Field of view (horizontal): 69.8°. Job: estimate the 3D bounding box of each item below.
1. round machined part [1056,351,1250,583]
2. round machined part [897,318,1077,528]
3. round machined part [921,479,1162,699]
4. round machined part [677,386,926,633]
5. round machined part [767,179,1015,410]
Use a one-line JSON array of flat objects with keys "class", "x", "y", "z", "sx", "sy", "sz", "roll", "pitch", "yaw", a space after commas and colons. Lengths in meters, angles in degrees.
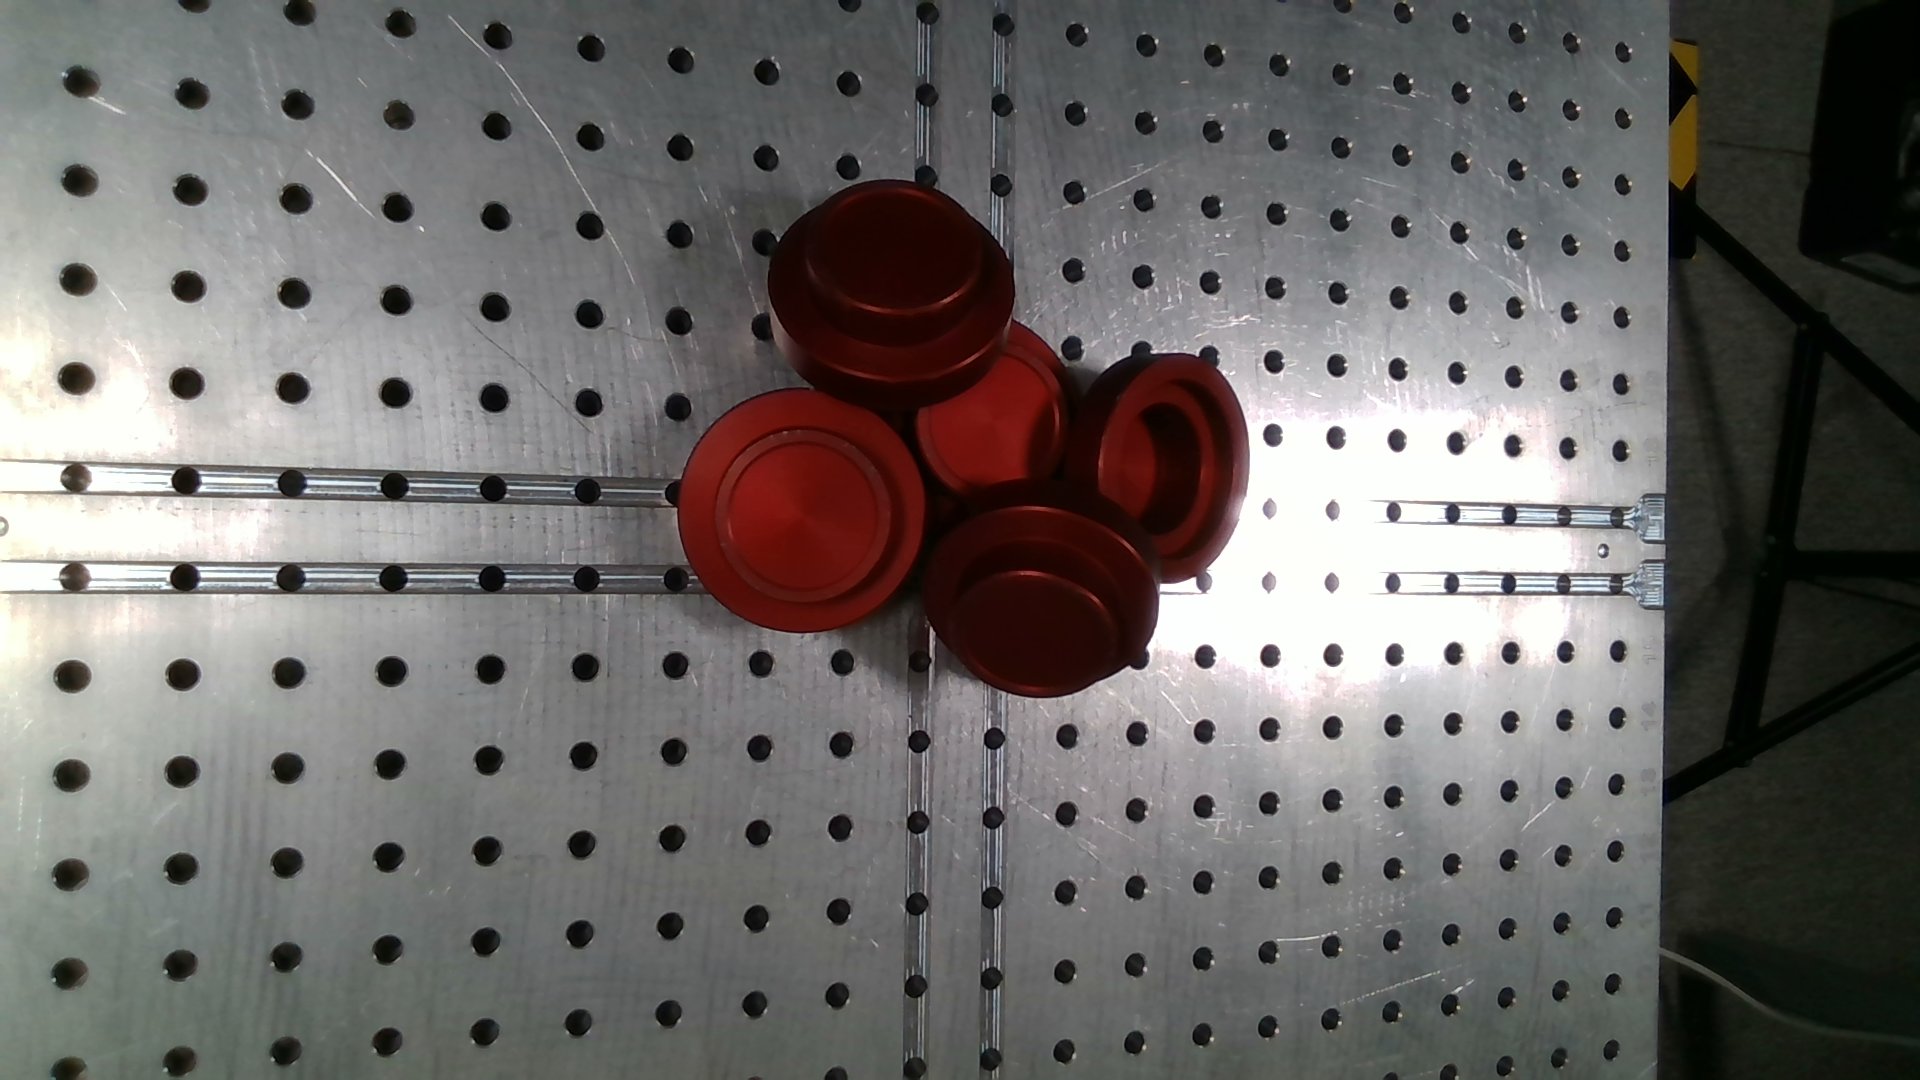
[{"class": "round machined part", "x": 0.079, "y": -0.032, "z": 0.597, "sx": 0.098, "sy": 0.042, "sz": 0.098, "roll": -6, "pitch": 99, "yaw": -41}, {"class": "round machined part", "x": 0.007, "y": -0.050, "z": 0.581, "sx": 0.098, "sy": 0.042, "sz": 0.098, "roll": 0, "pitch": 90, "yaw": -20}, {"class": "round machined part", "x": 0.032, "y": 0.027, "z": 0.560, "sx": 0.098, "sy": 0.098, "sz": 0.042, "roll": 35, "pitch": 37, "yaw": -17}, {"class": "round machined part", "x": -0.062, "y": -0.012, "z": 0.543, "sx": 0.098, "sy": 0.042, "sz": 0.098, "roll": -1, "pitch": 96, "yaw": -9}, {"class": "round machined part", "x": -0.027, "y": -0.103, "z": 0.544, "sx": 0.098, "sy": 0.042, "sz": 0.098, "roll": 3, "pitch": 60, "yaw": -5}]
